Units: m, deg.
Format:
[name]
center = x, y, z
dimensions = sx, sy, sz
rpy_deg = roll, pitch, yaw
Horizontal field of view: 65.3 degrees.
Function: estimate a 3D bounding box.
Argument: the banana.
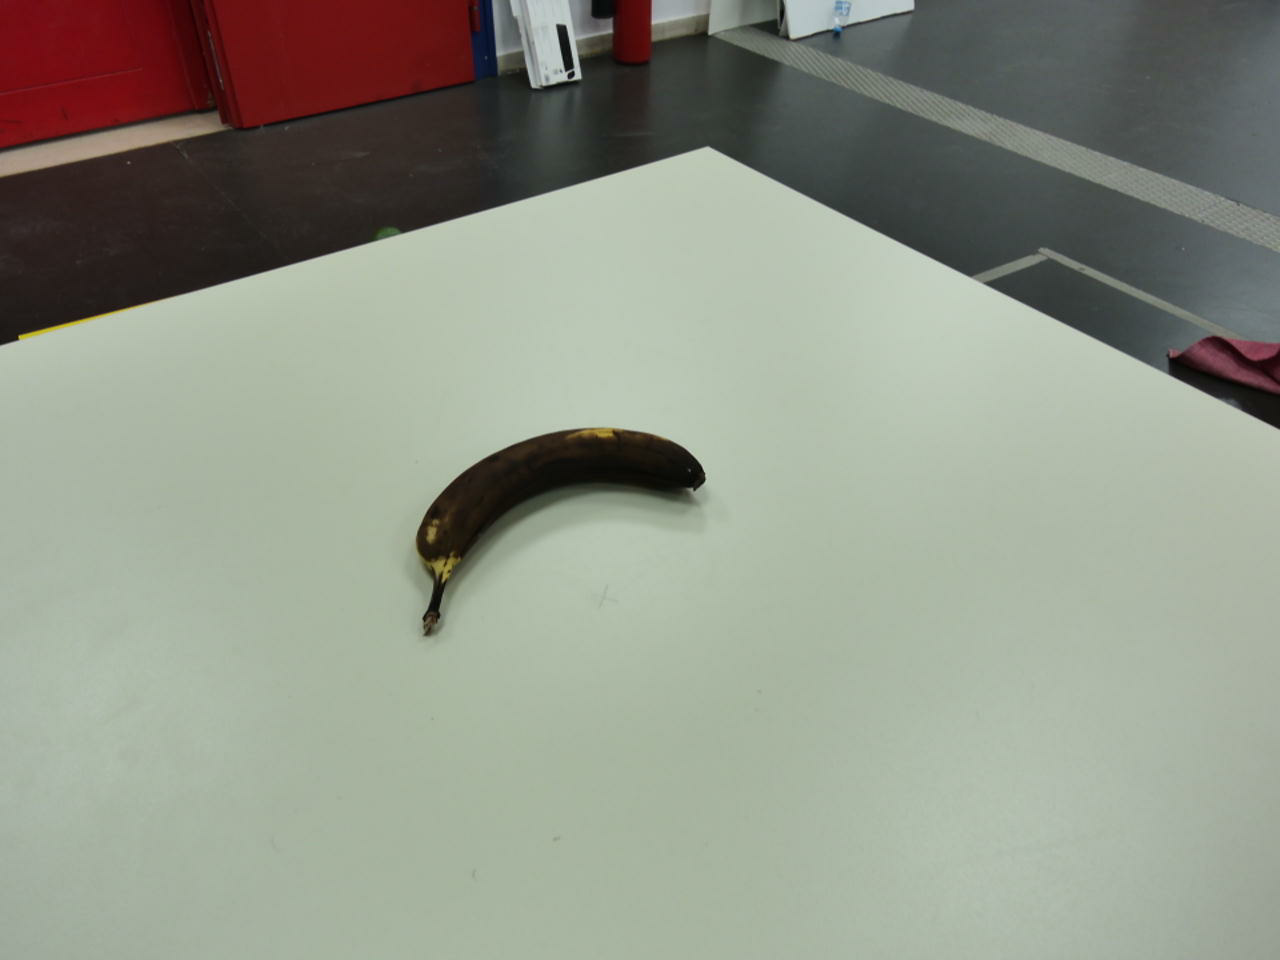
[banana]
center = -0.058, 0.010, 0.568
dimensions = 0.188, 0.034, 0.091
rpy_deg = -24, 44, -28
